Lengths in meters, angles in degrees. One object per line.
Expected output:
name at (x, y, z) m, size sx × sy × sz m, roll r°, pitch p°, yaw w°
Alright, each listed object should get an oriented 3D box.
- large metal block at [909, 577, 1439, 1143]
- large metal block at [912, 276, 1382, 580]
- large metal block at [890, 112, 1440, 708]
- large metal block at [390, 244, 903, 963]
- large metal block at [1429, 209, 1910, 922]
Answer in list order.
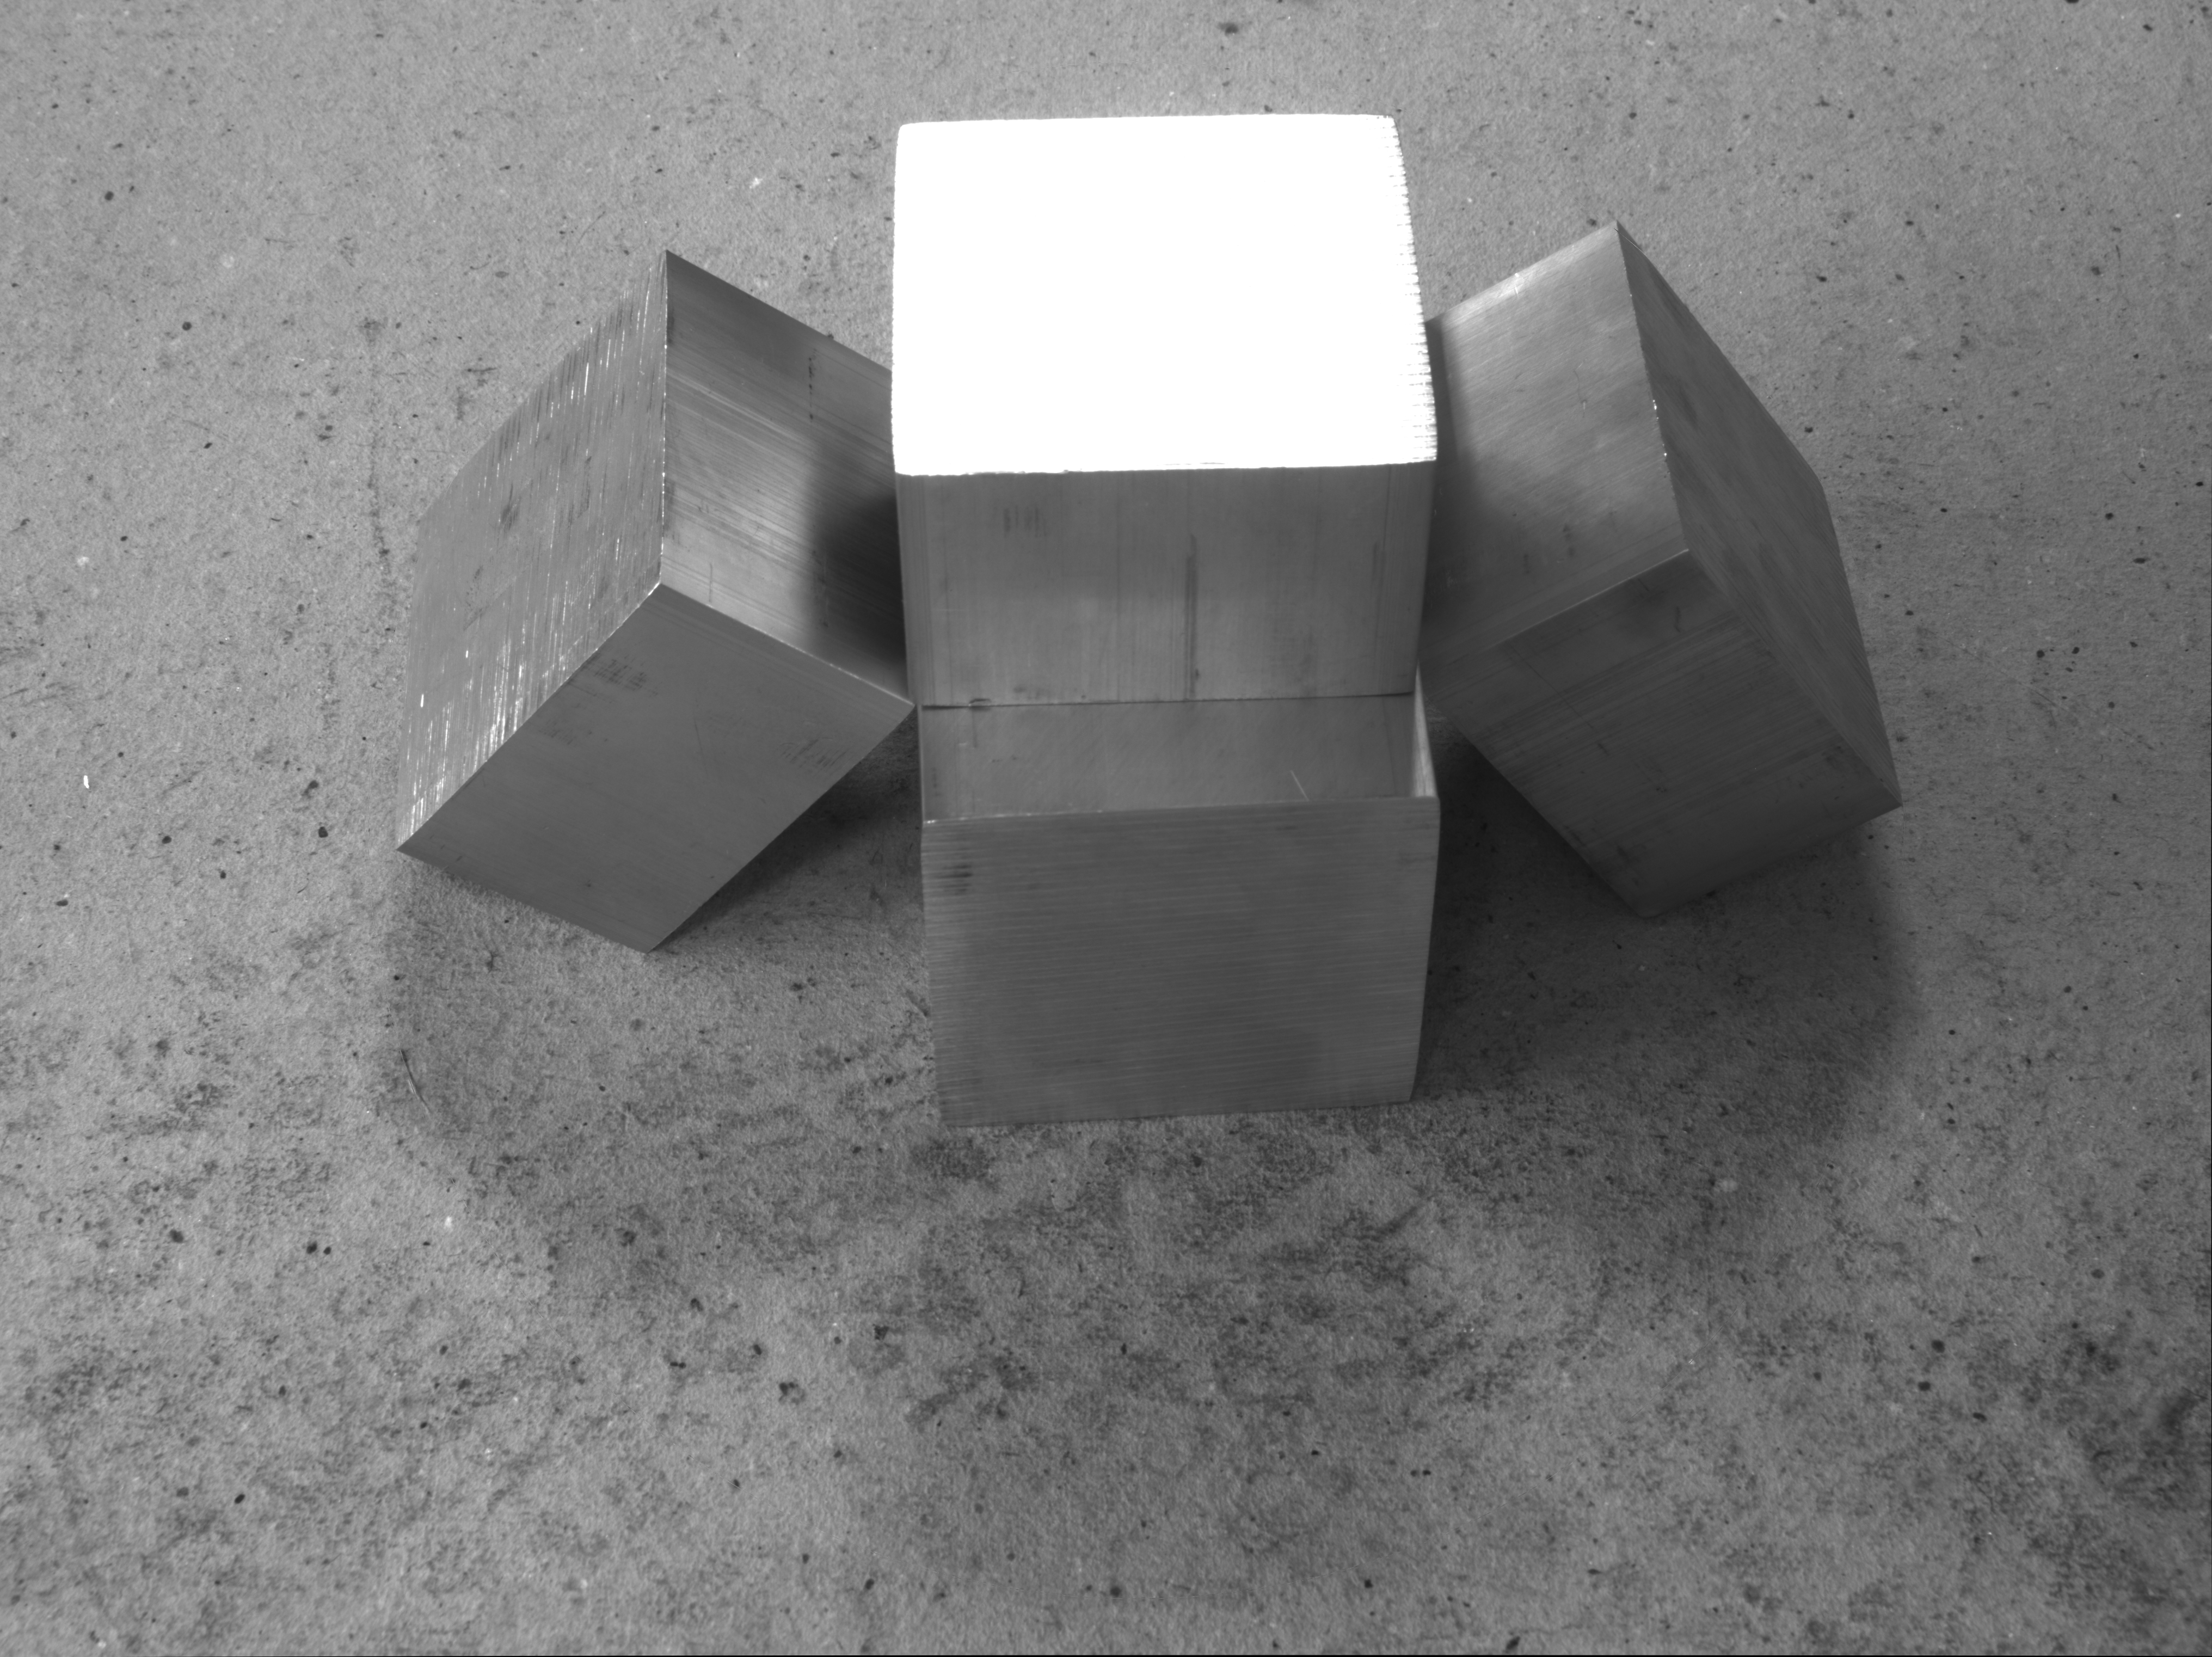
large metal block at (0.010, 0.006, 0.603) m, size 0.080 × 0.080 × 0.050 m, roll -3°, pitch 50°, yaw -2°
large metal block at (0.007, -0.065, 0.661) m, size 0.080 × 0.080 × 0.050 m, roll -1°, pitch 50°, yaw -2°
large metal block at (0.008, -0.066, 0.577) m, size 0.080 × 0.050 × 0.080 m, roll -2°, pitch 50°, yaw -1°
large metal block at (-0.077, -0.038, 0.629) m, size 0.050 × 0.080 × 0.080 m, roll 26°, pitch 41°, yaw -31°
large metal block at (0.091, -0.044, 0.633) m, size 0.050 × 0.080 × 0.080 m, roll -26°, pitch 45°, yaw 24°
